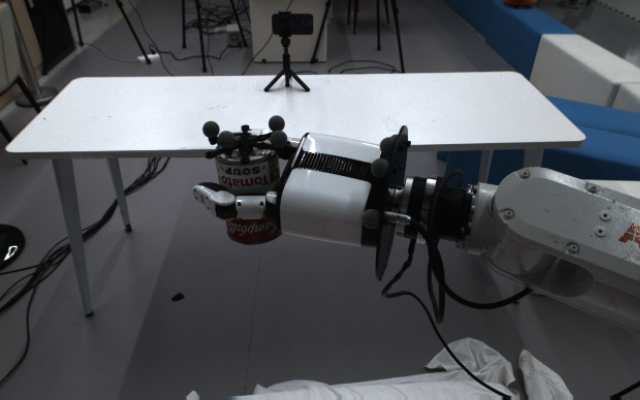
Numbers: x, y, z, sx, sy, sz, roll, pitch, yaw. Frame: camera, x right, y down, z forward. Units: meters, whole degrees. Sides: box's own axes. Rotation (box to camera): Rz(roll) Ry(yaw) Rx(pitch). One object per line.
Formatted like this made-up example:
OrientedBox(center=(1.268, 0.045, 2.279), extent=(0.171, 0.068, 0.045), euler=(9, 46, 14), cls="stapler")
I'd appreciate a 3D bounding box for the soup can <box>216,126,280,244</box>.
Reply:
OrientedBox(center=(-0.073, -0.011, 0.528), extent=(0.067, 0.101, 0.067), euler=(-2, 33, 1), cls="soup can")
